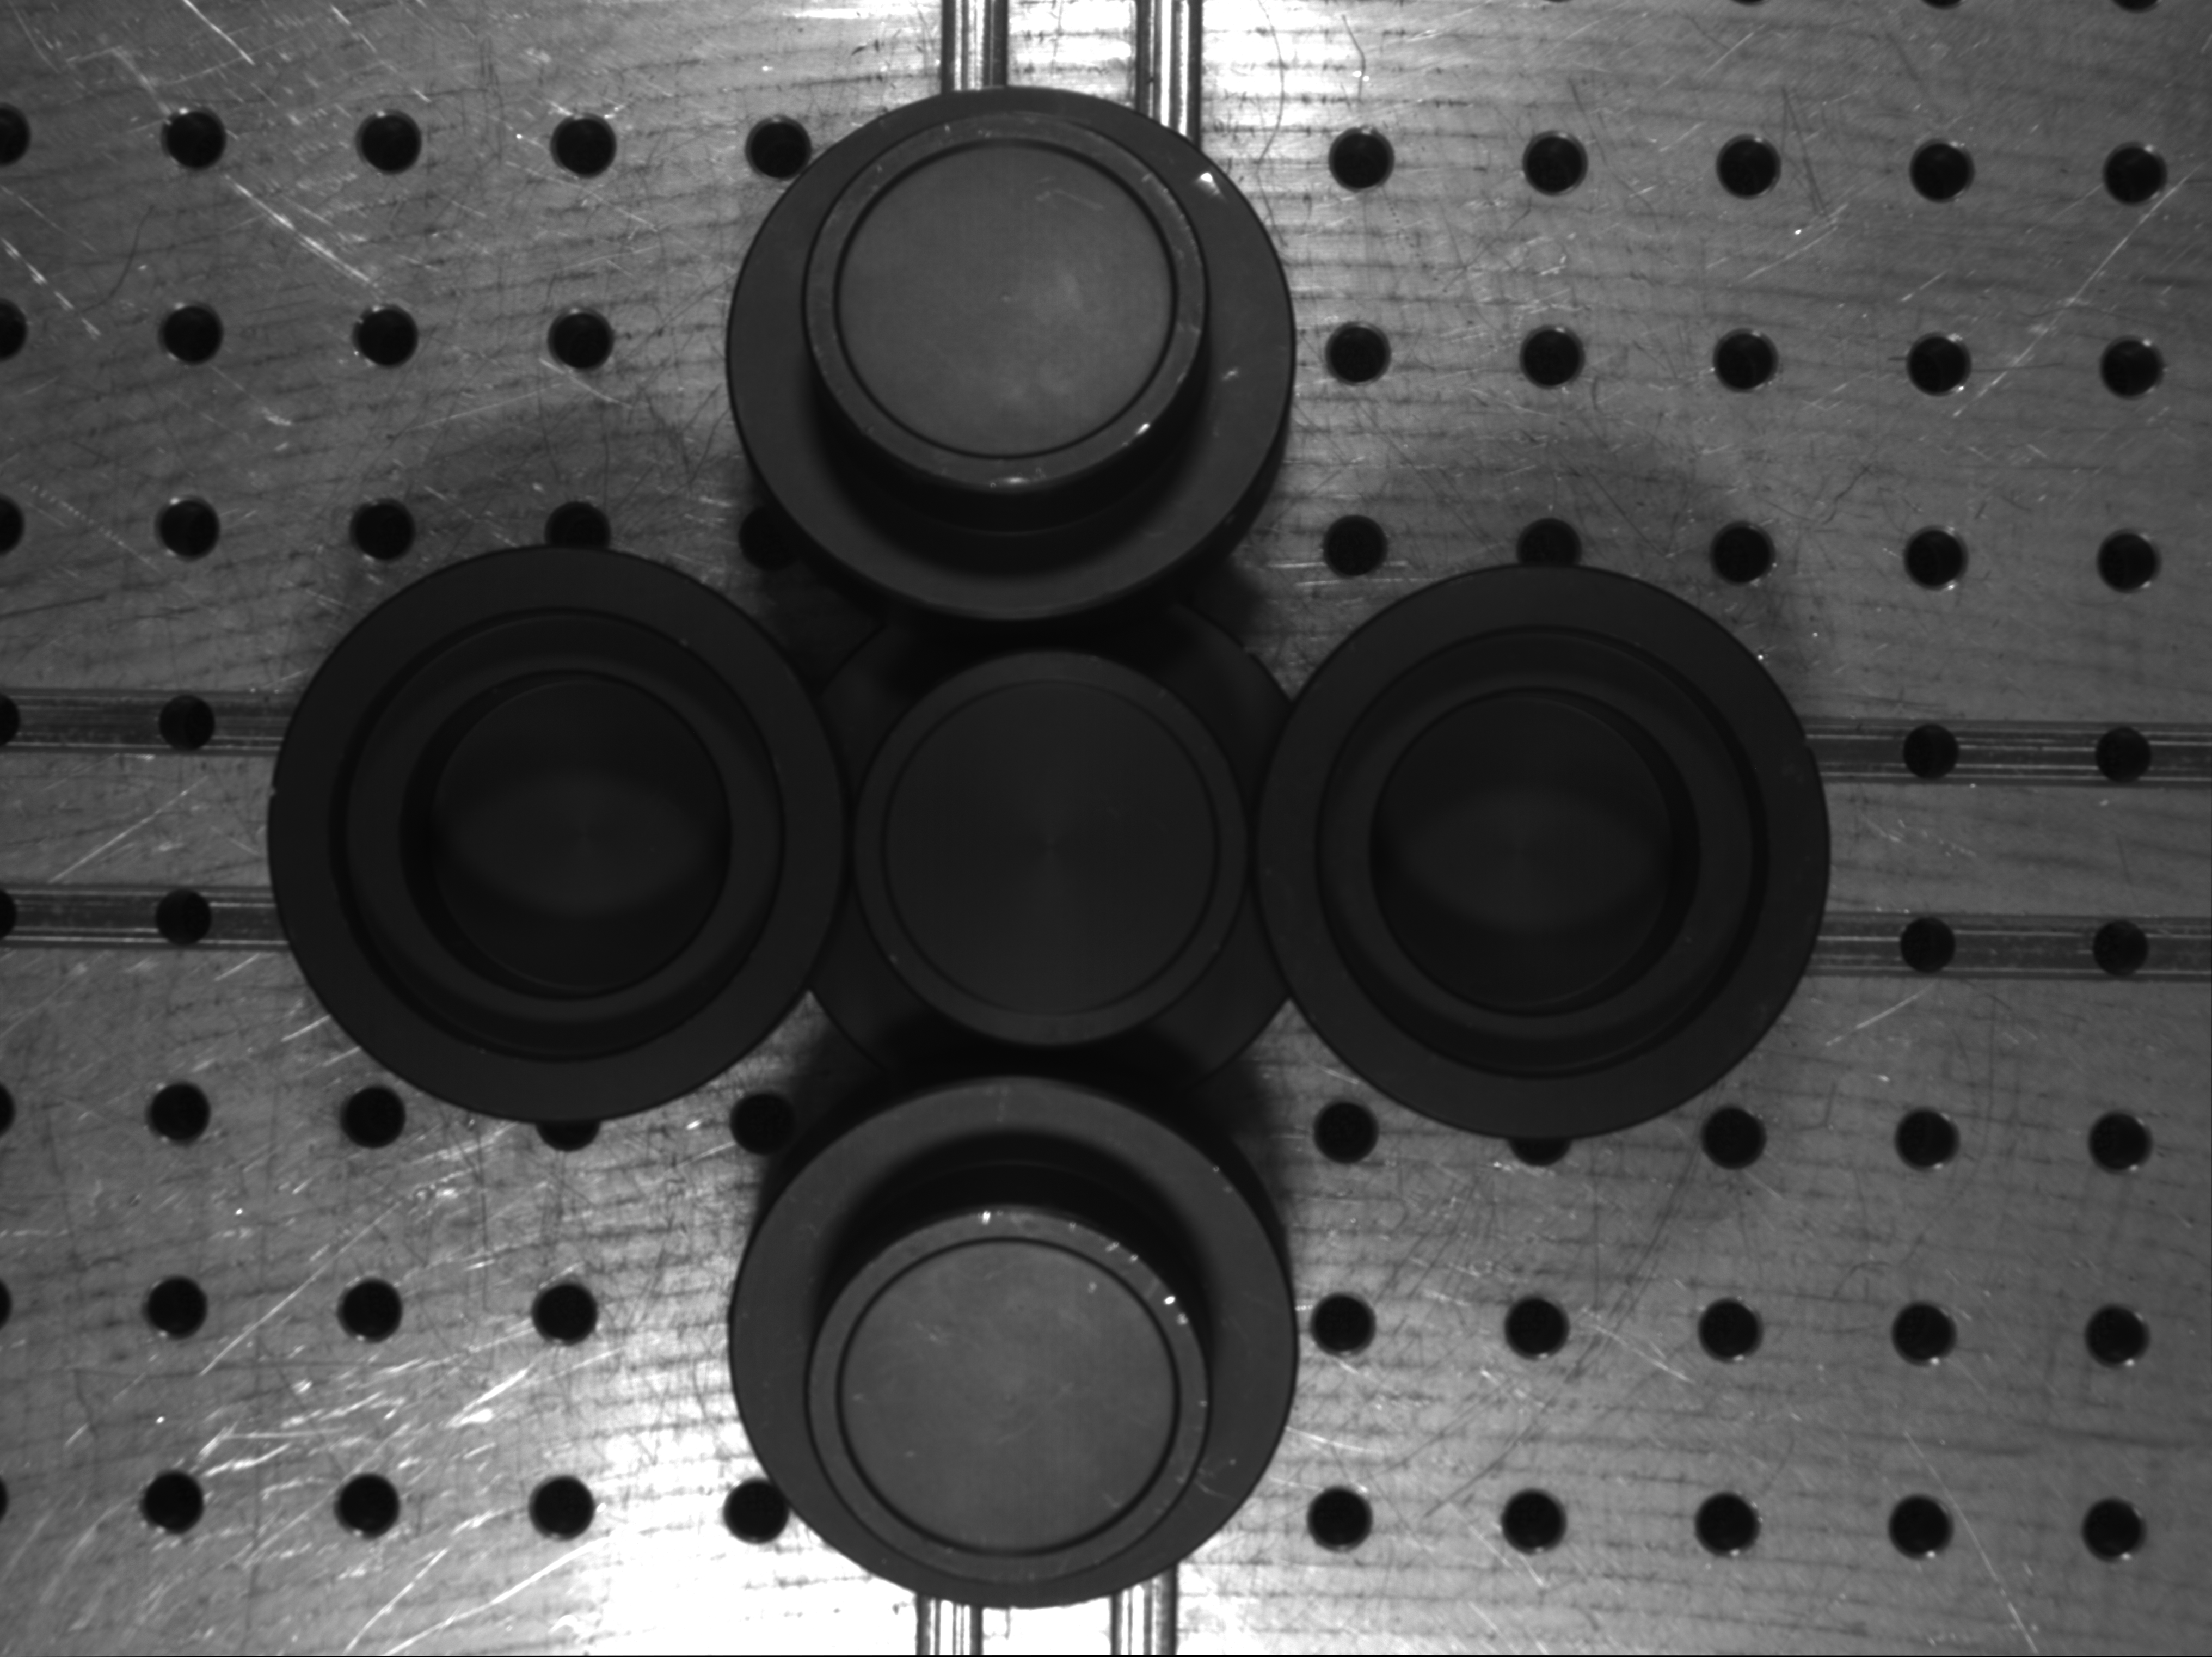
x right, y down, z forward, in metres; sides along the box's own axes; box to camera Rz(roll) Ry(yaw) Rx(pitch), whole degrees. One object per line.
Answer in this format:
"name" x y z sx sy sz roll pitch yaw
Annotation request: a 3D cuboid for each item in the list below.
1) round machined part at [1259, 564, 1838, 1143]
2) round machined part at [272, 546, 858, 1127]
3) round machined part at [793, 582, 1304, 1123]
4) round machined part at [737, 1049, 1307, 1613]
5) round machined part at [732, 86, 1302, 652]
"round machined part" 0.075 0.004 0.639 0.098 0.042 0.098 0 90 0
"round machined part" -0.092 0.001 0.638 0.098 0.042 0.098 0 90 0
"round machined part" -0.009 0.003 0.638 0.098 0.042 0.098 0 90 0
"round machined part" -0.014 0.090 0.627 0.098 0.042 0.098 0 105 0
"round machined part" -0.015 -0.083 0.627 0.098 0.042 0.098 0 75 1
